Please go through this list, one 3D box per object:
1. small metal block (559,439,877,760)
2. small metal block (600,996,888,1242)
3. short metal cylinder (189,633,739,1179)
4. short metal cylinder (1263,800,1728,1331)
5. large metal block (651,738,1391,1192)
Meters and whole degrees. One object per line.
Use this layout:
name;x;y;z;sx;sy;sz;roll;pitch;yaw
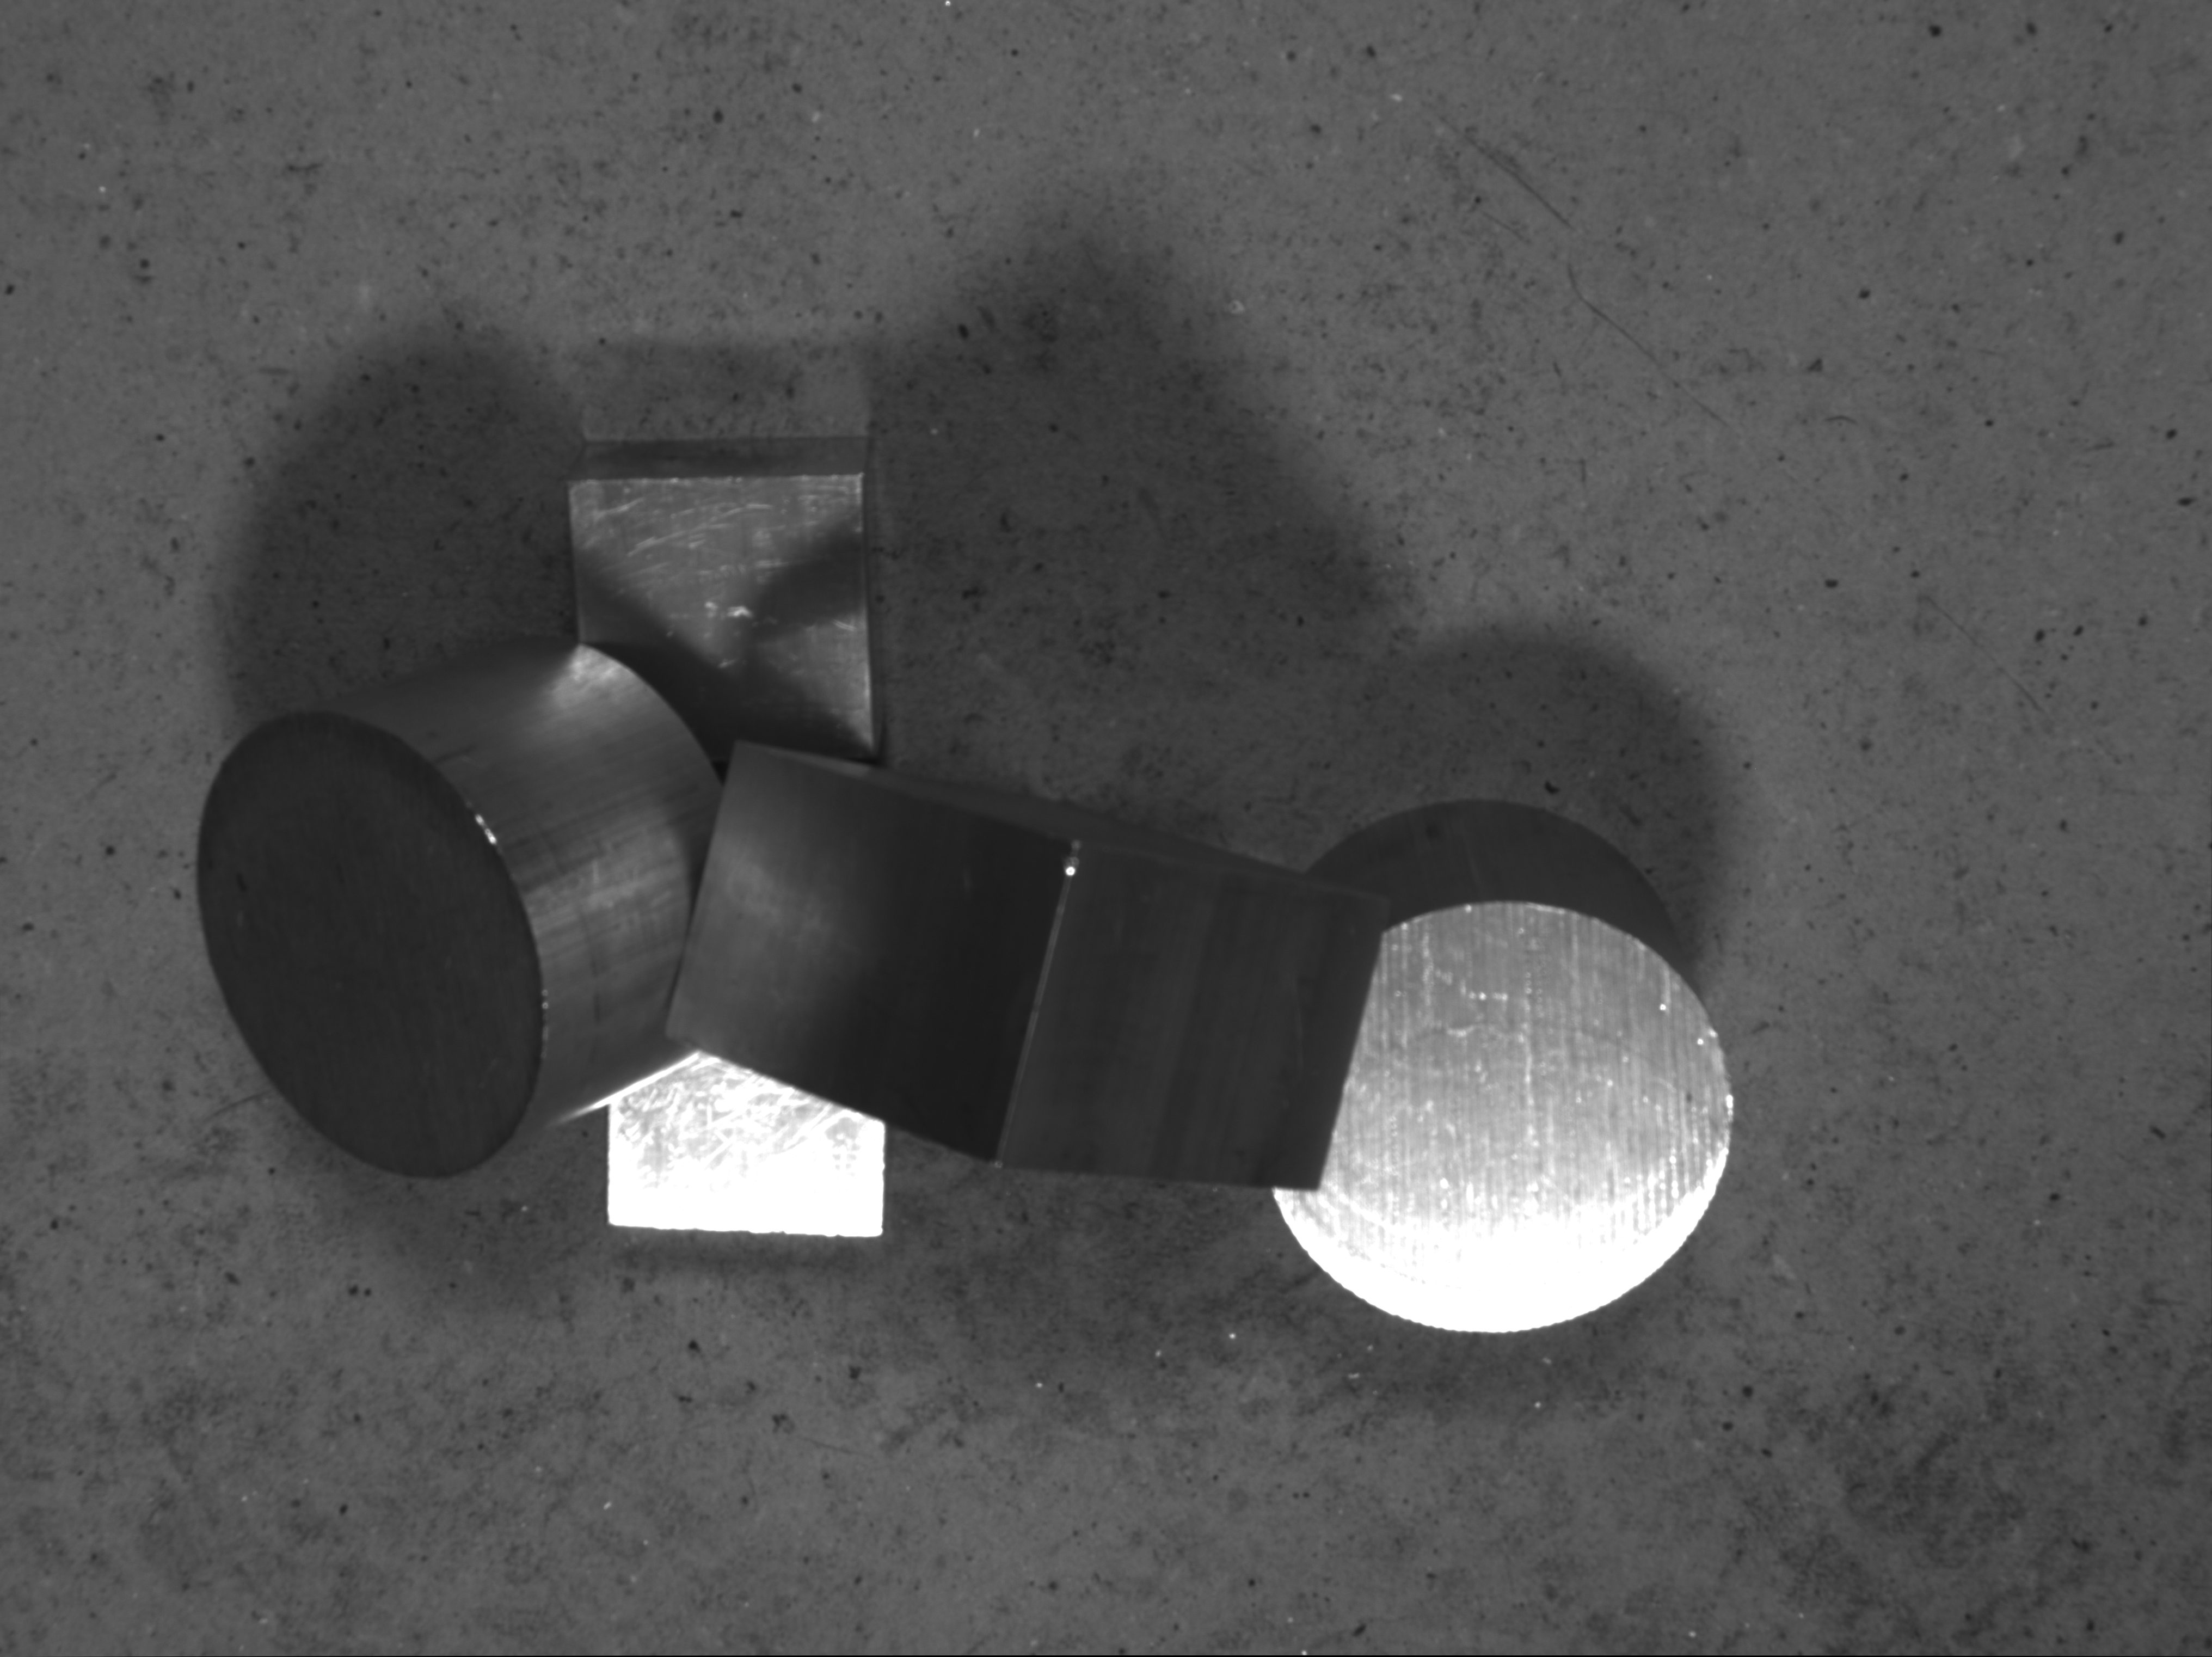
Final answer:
small metal block;-0.065;-0.039;0.628;0.050;0.025;0.050;-1;110;0
small metal block;-0.064;0.045;0.659;0.050;0.025;0.050;3;110;-2
short metal cylinder;-0.107;0.012;0.614;0.080;0.050;0.080;14;115;33
short metal cylinder;0.066;0.041;0.646;0.080;0.050;0.080;0;110;-1
large metal block;-0.014;0.023;0.602;0.080;0.080;0.050;10;95;-48
